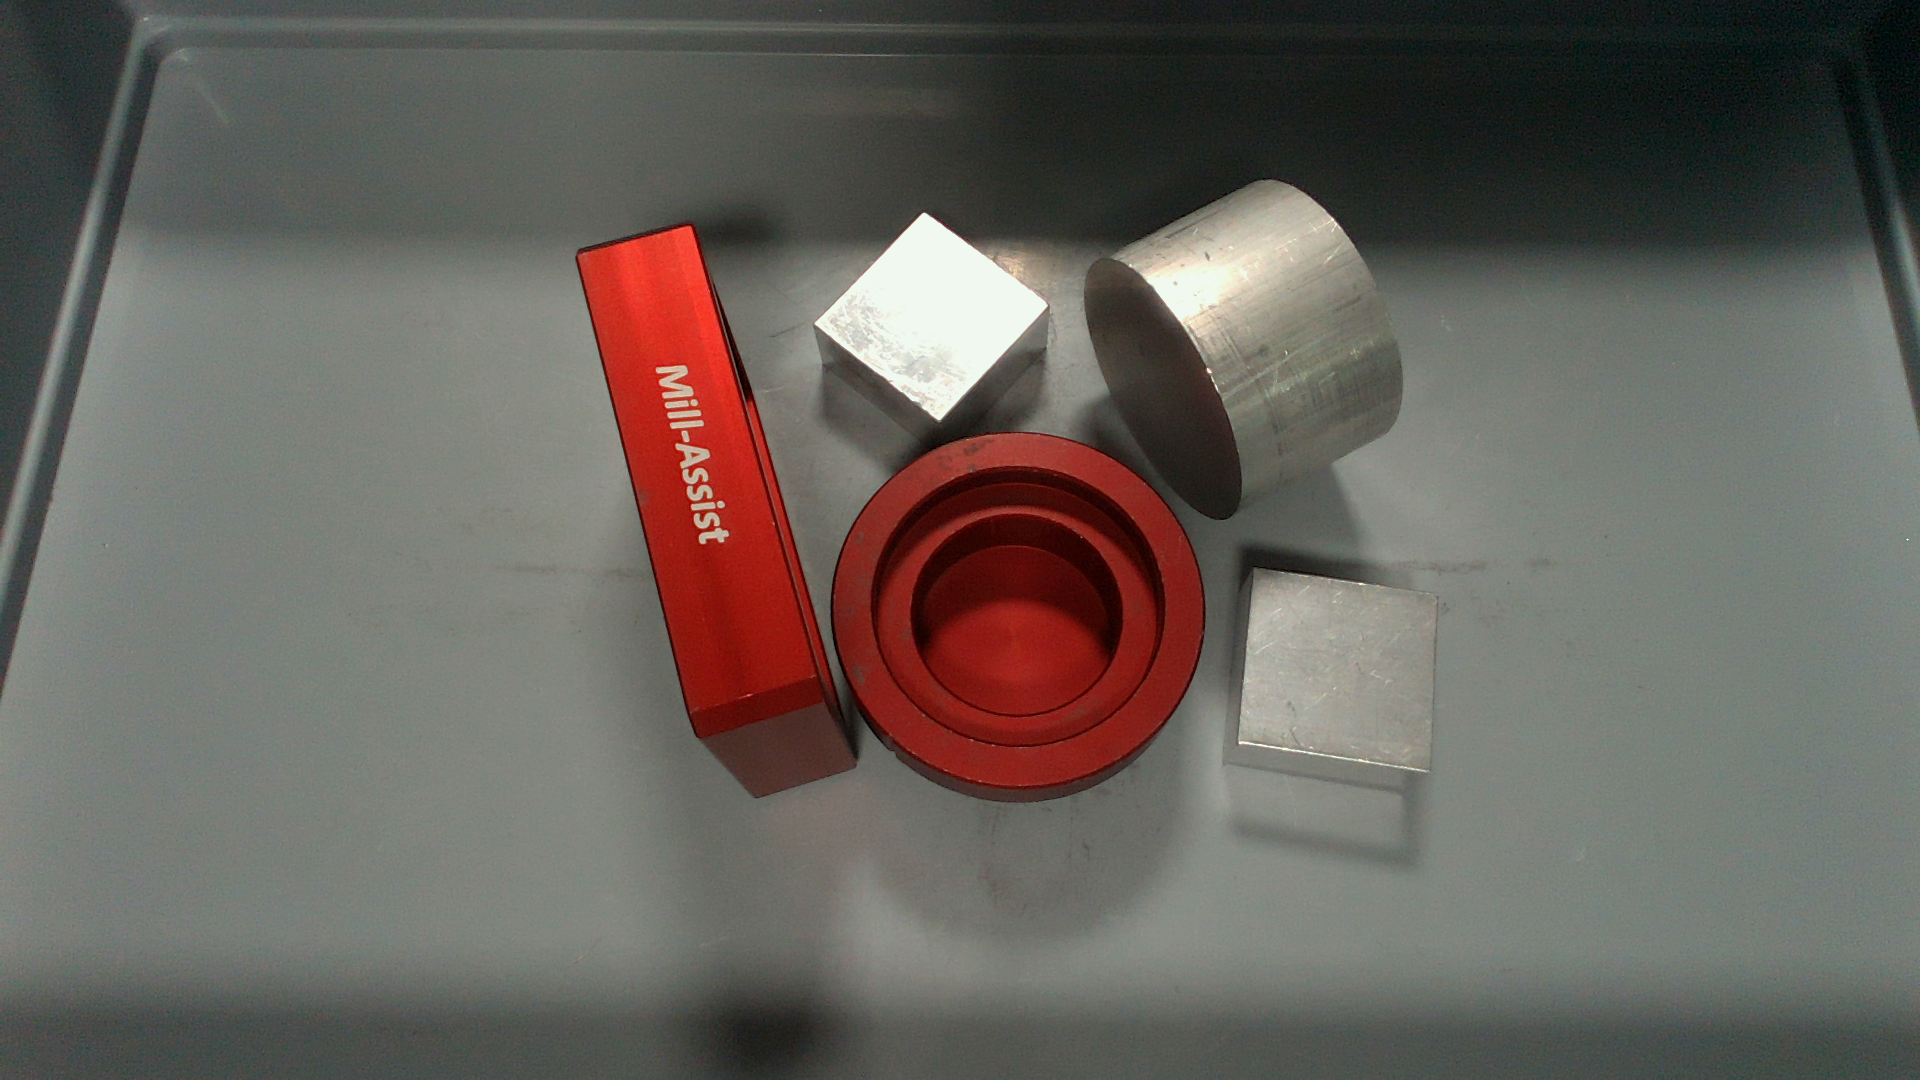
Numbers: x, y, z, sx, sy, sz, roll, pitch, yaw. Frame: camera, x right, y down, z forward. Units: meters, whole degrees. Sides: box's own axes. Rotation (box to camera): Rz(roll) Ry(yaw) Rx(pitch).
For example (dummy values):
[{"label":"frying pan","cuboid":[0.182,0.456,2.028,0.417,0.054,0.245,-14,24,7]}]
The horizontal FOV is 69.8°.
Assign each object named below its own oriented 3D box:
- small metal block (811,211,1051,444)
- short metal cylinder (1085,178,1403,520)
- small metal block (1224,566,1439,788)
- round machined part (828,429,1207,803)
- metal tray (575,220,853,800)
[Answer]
[{"label":"small metal block","cuboid":[-0.008,-0.062,0.416,0.050,0.025,0.050,38,75,14]},{"label":"short metal cylinder","cuboid":[0.077,-0.053,0.384,0.050,0.080,0.080,-28,72,-9]},{"label":"small metal block","cuboid":[0.102,0.038,0.379,0.050,0.025,0.050,8,70,5]},{"label":"round machined part","cuboid":[0.015,0.023,0.374,0.098,0.042,0.098,0,70,0]},{"label":"metal tray","cuboid":[-0.062,-0.005,0.360,0.030,0.090,0.130,-16,71,-5]}]
